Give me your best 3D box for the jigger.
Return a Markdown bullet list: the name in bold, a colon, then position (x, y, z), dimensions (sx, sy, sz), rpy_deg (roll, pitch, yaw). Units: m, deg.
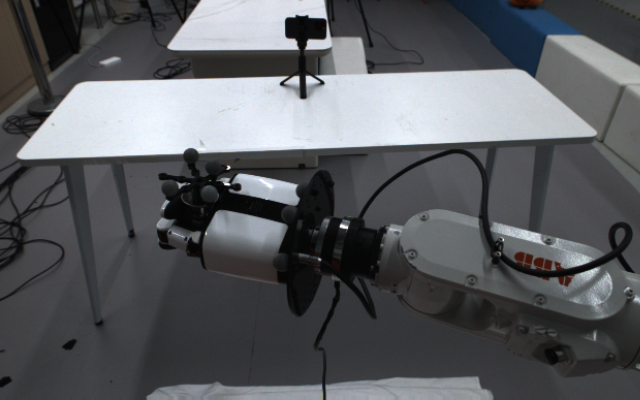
- **jigger**: position (-0.133, 0.024, 0.549), dimensions (0.043, 0.071, 0.043), rpy_deg (7, 32, -4)
